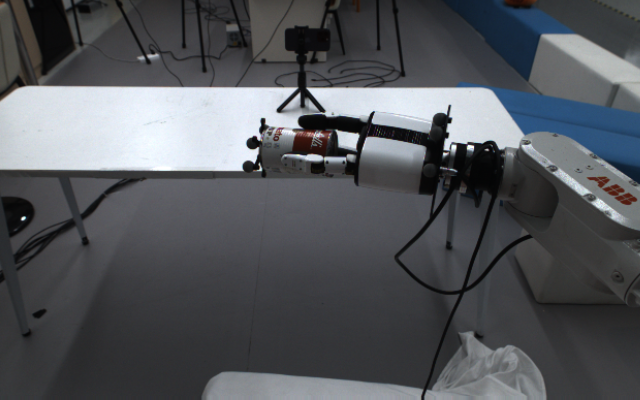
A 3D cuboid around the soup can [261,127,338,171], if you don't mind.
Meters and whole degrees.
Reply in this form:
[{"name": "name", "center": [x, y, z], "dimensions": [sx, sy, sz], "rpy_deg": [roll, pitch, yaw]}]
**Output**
[{"name": "soup can", "center": [-0.029, -0.070, 0.704], "dimensions": [0.101, 0.067, 0.067], "rpy_deg": [6, 35, 13]}]
